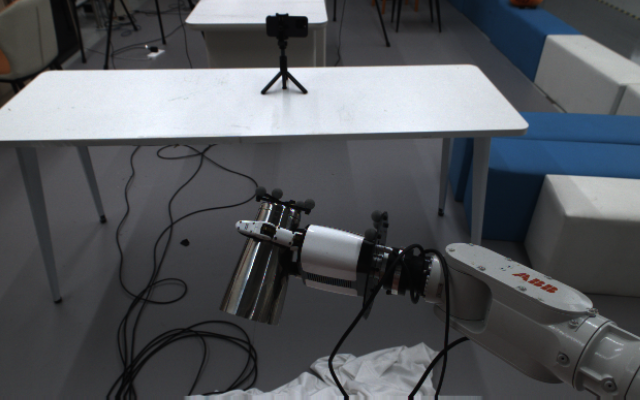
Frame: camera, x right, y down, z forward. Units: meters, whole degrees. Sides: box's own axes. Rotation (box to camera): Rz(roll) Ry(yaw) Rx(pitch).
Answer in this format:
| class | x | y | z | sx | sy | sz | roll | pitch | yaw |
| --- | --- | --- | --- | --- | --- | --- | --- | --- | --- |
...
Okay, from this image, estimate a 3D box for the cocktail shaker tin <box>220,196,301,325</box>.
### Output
| class | x | y | z | sx | sy | sz | roll | pitch | yaw |
| --- | --- | --- | --- | --- | --- | --- | --- | --- | --- |
| cocktail shaker tin | -0.081 | 0.091 | 0.731 | 0.093 | 0.093 | 0.170 | 13 | 77 | 15 |
